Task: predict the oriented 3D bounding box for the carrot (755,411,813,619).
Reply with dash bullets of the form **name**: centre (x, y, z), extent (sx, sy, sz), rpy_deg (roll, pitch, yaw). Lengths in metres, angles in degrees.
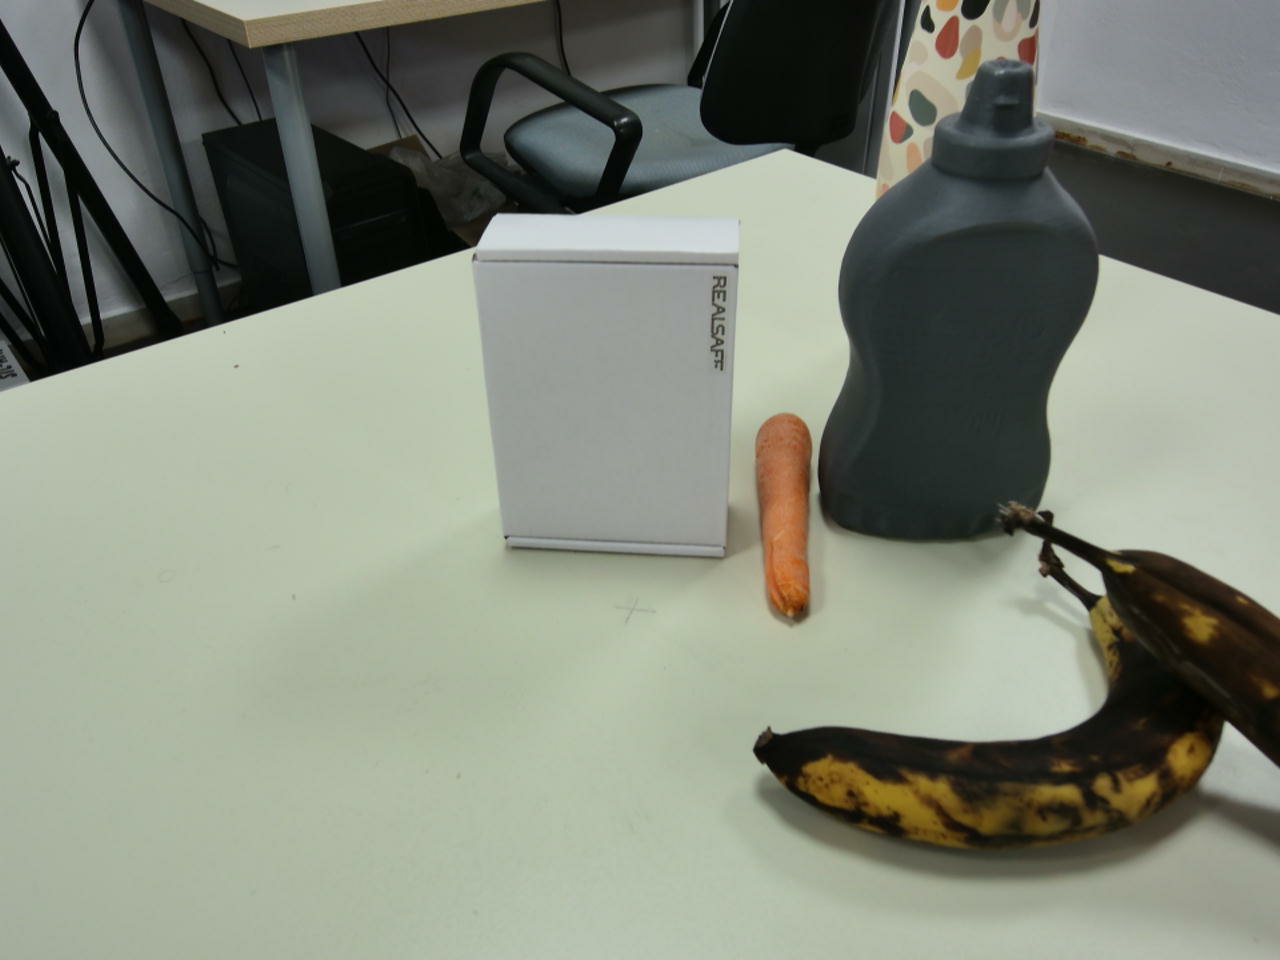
- **carrot**: centre (0.068, 0.010, 0.471), extent (0.030, 0.032, 0.136), rpy_deg (3, 35, 6)
